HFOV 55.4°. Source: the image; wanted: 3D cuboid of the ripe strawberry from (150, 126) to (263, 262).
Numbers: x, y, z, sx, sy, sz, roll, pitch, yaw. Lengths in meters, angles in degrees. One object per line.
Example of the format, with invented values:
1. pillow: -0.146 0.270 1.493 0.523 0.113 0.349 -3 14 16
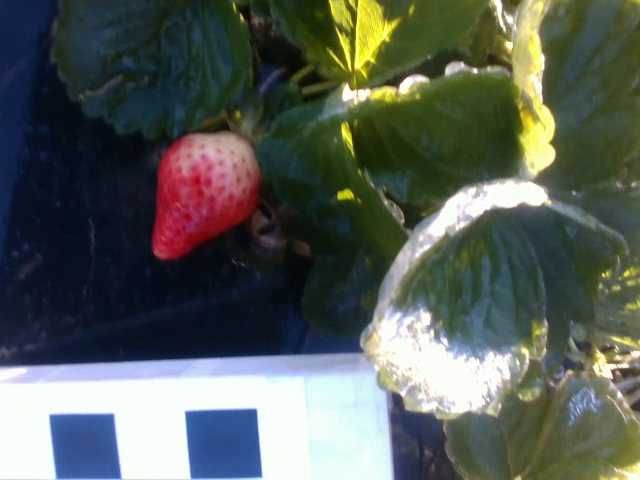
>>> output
1. ripe strawberry: -0.054 -0.018 0.239 0.040 0.065 0.040 36 9 0
